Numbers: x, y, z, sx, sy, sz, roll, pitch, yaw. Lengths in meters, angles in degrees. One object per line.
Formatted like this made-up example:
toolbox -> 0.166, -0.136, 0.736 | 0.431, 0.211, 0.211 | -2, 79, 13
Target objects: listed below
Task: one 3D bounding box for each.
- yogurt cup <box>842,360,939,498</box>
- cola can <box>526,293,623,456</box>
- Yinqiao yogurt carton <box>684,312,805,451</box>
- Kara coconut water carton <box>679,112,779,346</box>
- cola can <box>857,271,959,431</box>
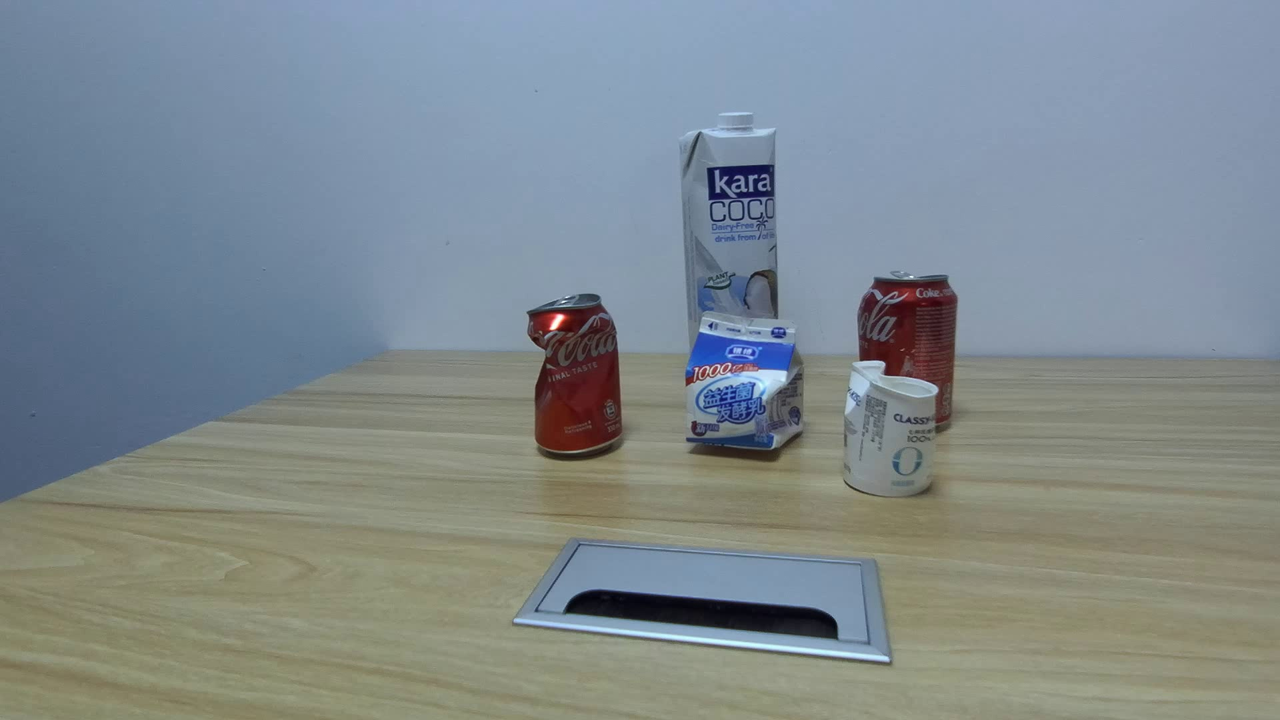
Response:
yogurt cup -> 0.155, 0.042, 0.438 | 0.054, 0.071, 0.075 | -11, 17, -30
cola can -> -0.048, 0.010, 0.524 | 0.069, 0.112, 0.065 | -12, 16, -33
Yinqiao yogurt carton -> 0.077, 0.014, 0.511 | 0.074, 0.097, 0.080 | 3, 8, 20
Kara coconut water carton -> 0.081, -0.089, 0.626 | 0.077, 0.245, 0.075 | -6, 12, -10
cola can -> 0.204, -0.007, 0.540 | 0.072, 0.117, 0.065 | 1, 15, 13
